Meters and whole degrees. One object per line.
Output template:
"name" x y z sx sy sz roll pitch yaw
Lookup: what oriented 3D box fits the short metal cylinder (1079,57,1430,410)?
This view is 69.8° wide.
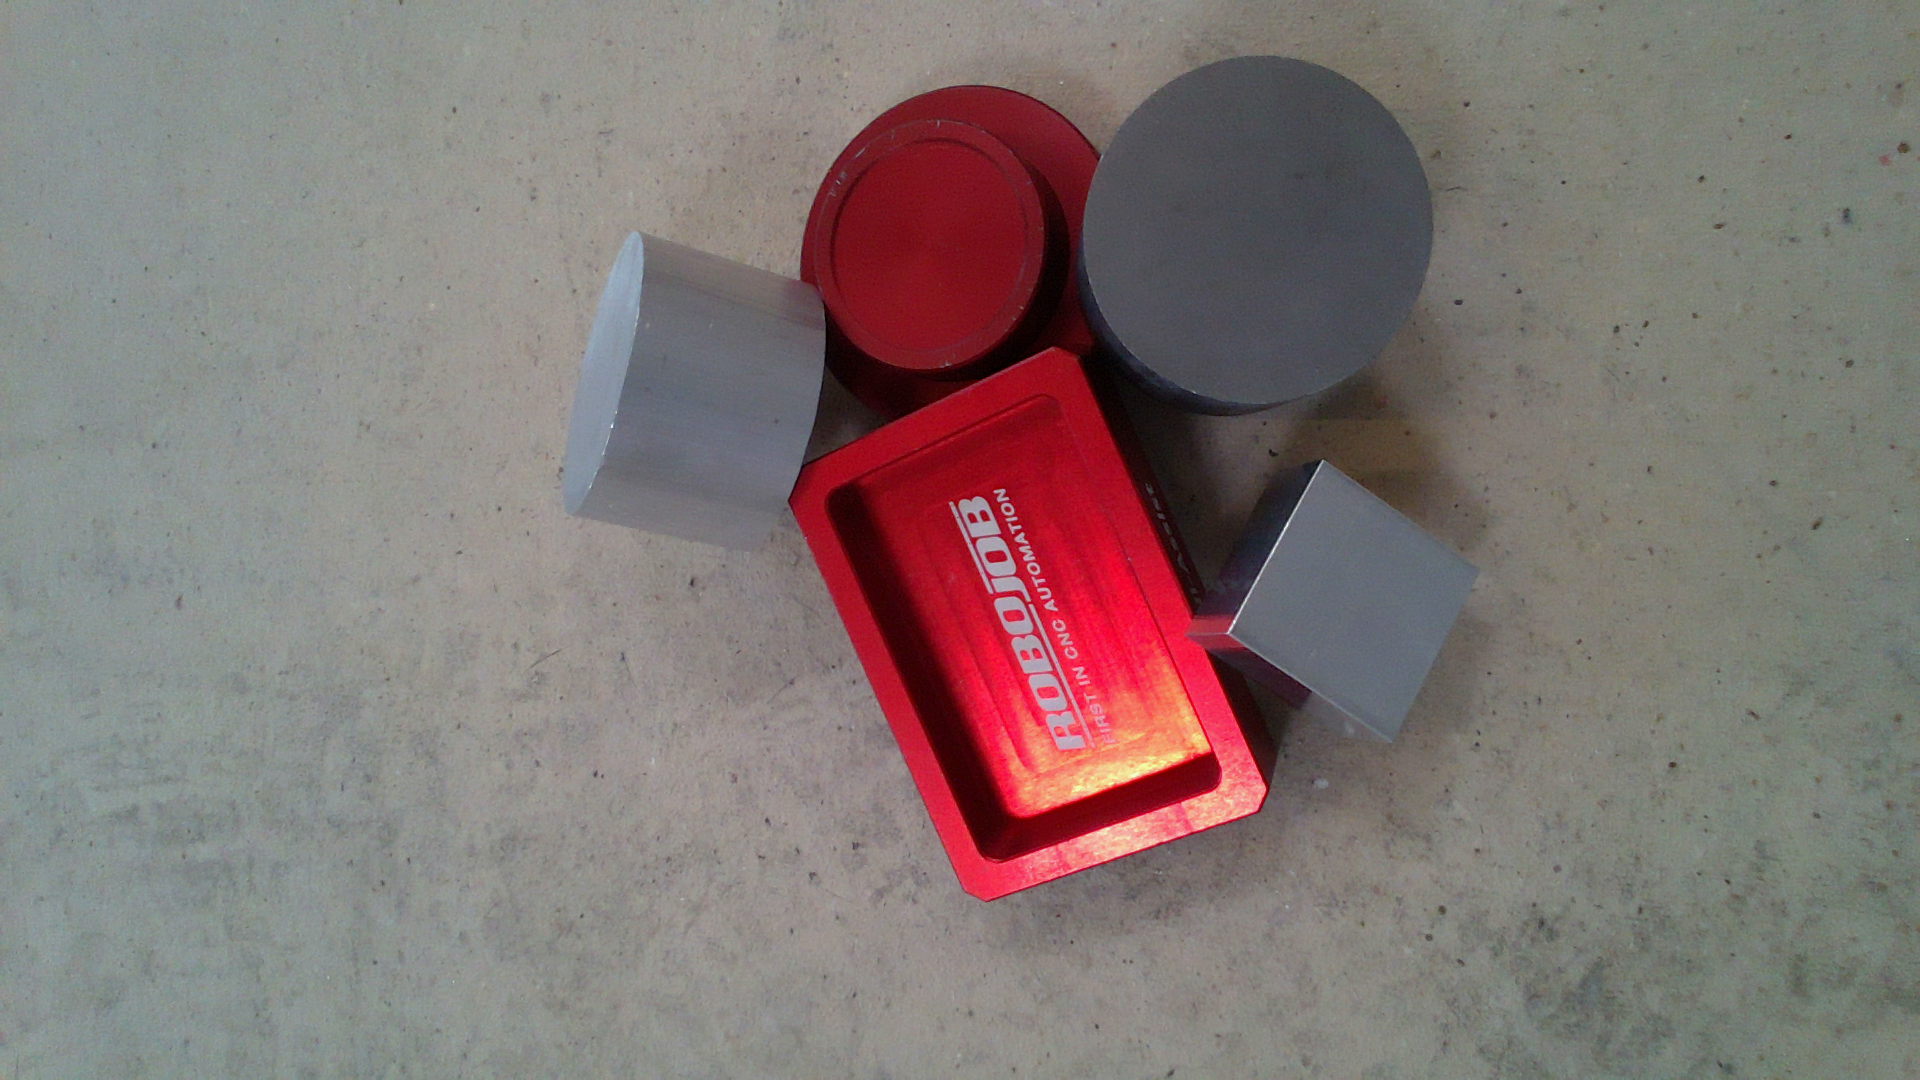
"short metal cylinder" 0.070 -0.073 0.346 0.080 0.050 0.080 0 92 2

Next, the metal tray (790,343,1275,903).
"metal tray" 0.019 0.023 0.375 0.090 0.030 0.130 -23 92 18

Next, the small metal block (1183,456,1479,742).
"small metal block" 0.093 0.015 0.344 0.050 0.025 0.050 34 77 -10

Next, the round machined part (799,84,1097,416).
"round machined part" -0.002 -0.080 0.388 0.098 0.042 0.098 0 90 20

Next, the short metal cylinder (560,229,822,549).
"short metal cylinder" -0.077 -0.041 0.388 0.050 0.080 0.080 13 96 -24
